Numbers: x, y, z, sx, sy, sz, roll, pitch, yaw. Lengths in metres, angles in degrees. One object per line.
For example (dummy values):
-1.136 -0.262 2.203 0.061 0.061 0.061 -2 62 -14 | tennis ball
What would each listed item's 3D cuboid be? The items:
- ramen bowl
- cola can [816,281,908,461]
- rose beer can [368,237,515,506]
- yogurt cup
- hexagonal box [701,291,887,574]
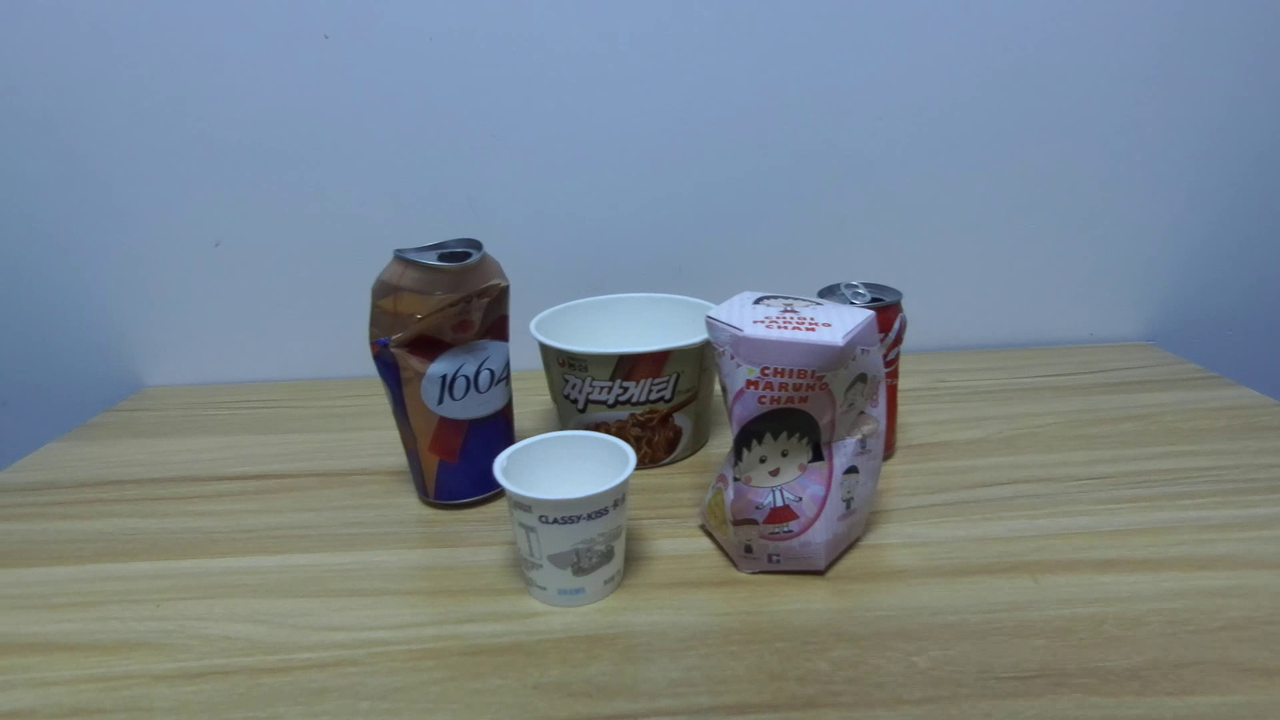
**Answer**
-0.005 0.014 0.516 0.140 0.095 0.140 -1 19 1 | ramen bowl
0.147 0.008 0.488 0.066 0.117 0.066 7 24 24 | cola can
-0.118 0.009 0.447 0.068 0.162 0.073 2 22 10 | rose beer can
-0.036 0.082 0.365 0.072 0.068 0.072 -2 20 1 | yogurt cup
0.074 0.038 0.381 0.089 0.134 0.093 -12 22 -25 | hexagonal box
